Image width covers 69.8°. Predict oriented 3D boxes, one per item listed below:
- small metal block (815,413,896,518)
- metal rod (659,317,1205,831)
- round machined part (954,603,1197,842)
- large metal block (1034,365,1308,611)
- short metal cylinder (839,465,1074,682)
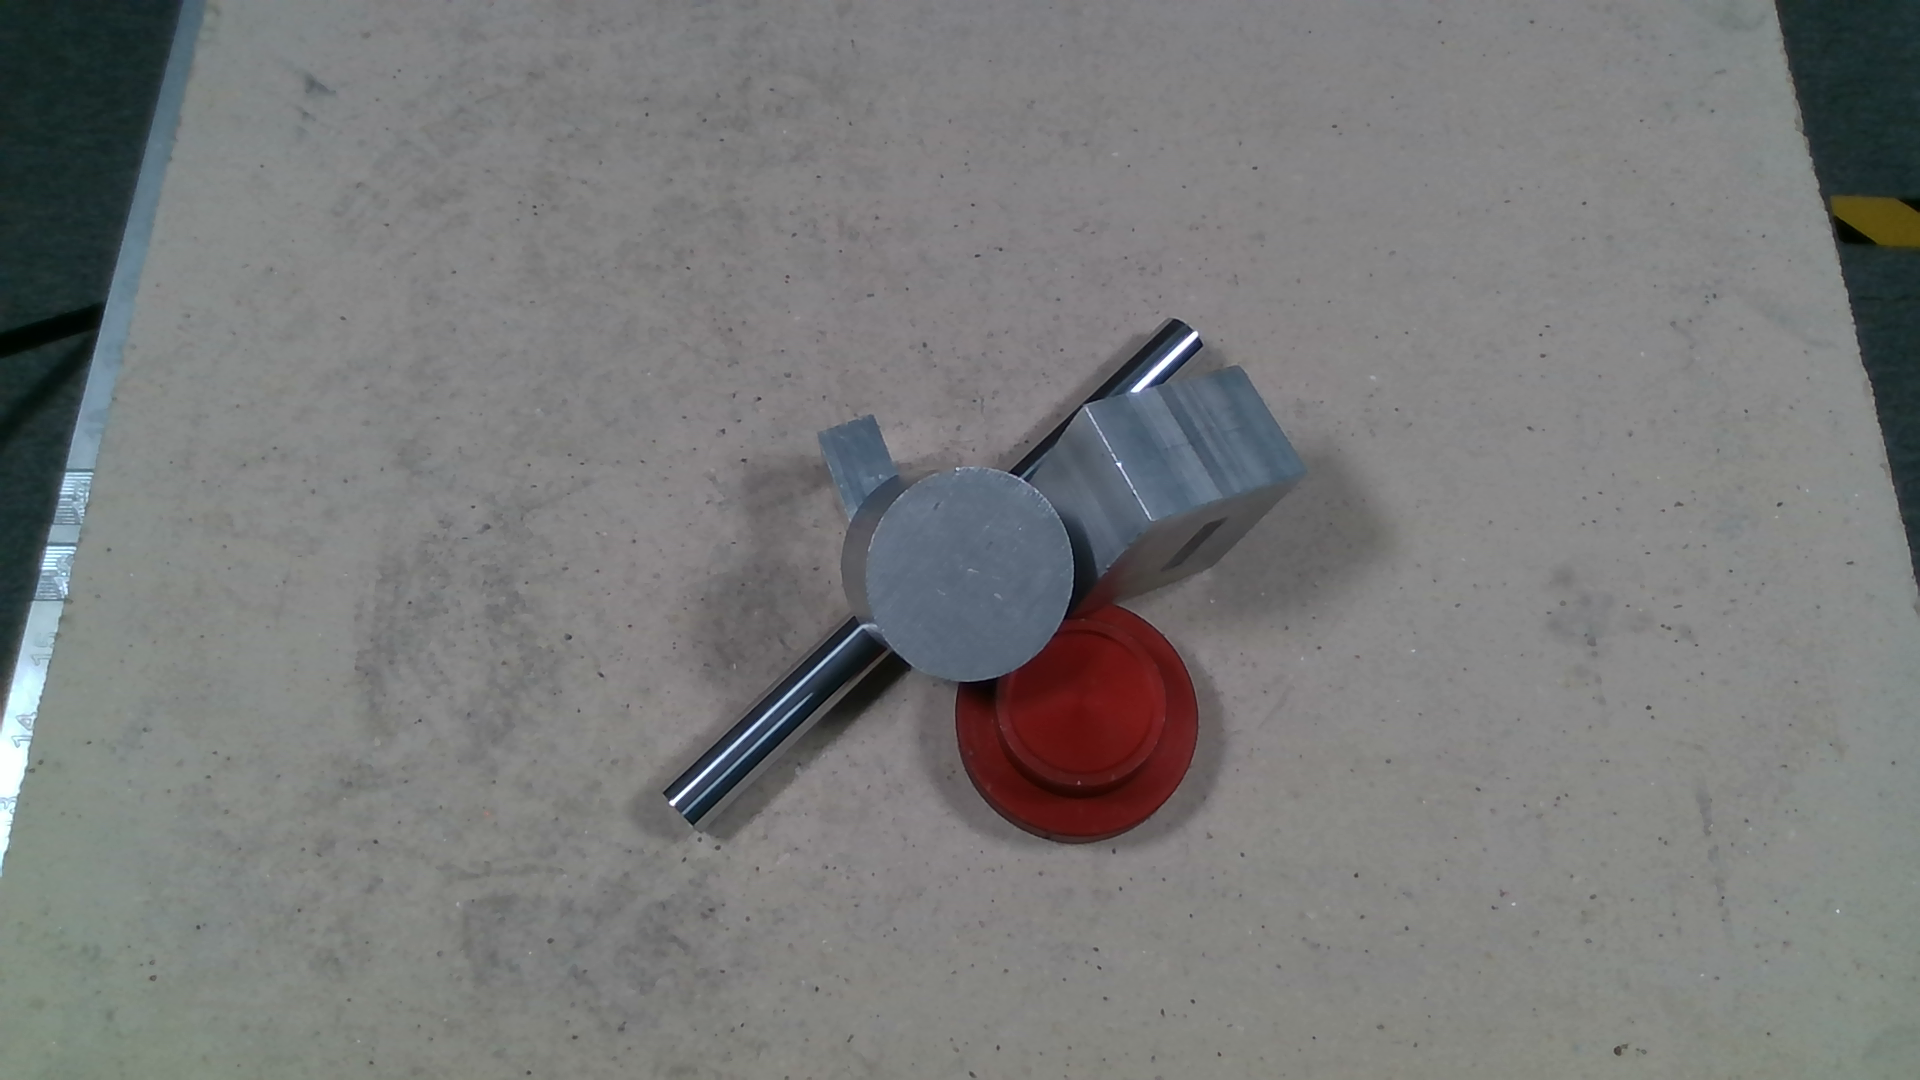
[{"bbox_3d":[-0.039,-0.018,0.582,0.025,0.050,0.050,-20,72,-8],"label":"small metal block"},{"bbox_3d":[-0.006,0.008,0.586,0.300,0.025,0.025,-43,76,-14],"label":"metal rod"},{"bbox_3d":[0.047,0.070,0.554,0.098,0.042,0.098,0,70,0],"label":"round machined part"},{"bbox_3d":[0.078,-0.019,0.555,0.080,0.080,0.050,-17,68,-29],"label":"large metal block"},{"bbox_3d":[-0.002,0.011,0.531,0.080,0.050,0.080,-1,94,-16],"label":"short metal cylinder"}]
